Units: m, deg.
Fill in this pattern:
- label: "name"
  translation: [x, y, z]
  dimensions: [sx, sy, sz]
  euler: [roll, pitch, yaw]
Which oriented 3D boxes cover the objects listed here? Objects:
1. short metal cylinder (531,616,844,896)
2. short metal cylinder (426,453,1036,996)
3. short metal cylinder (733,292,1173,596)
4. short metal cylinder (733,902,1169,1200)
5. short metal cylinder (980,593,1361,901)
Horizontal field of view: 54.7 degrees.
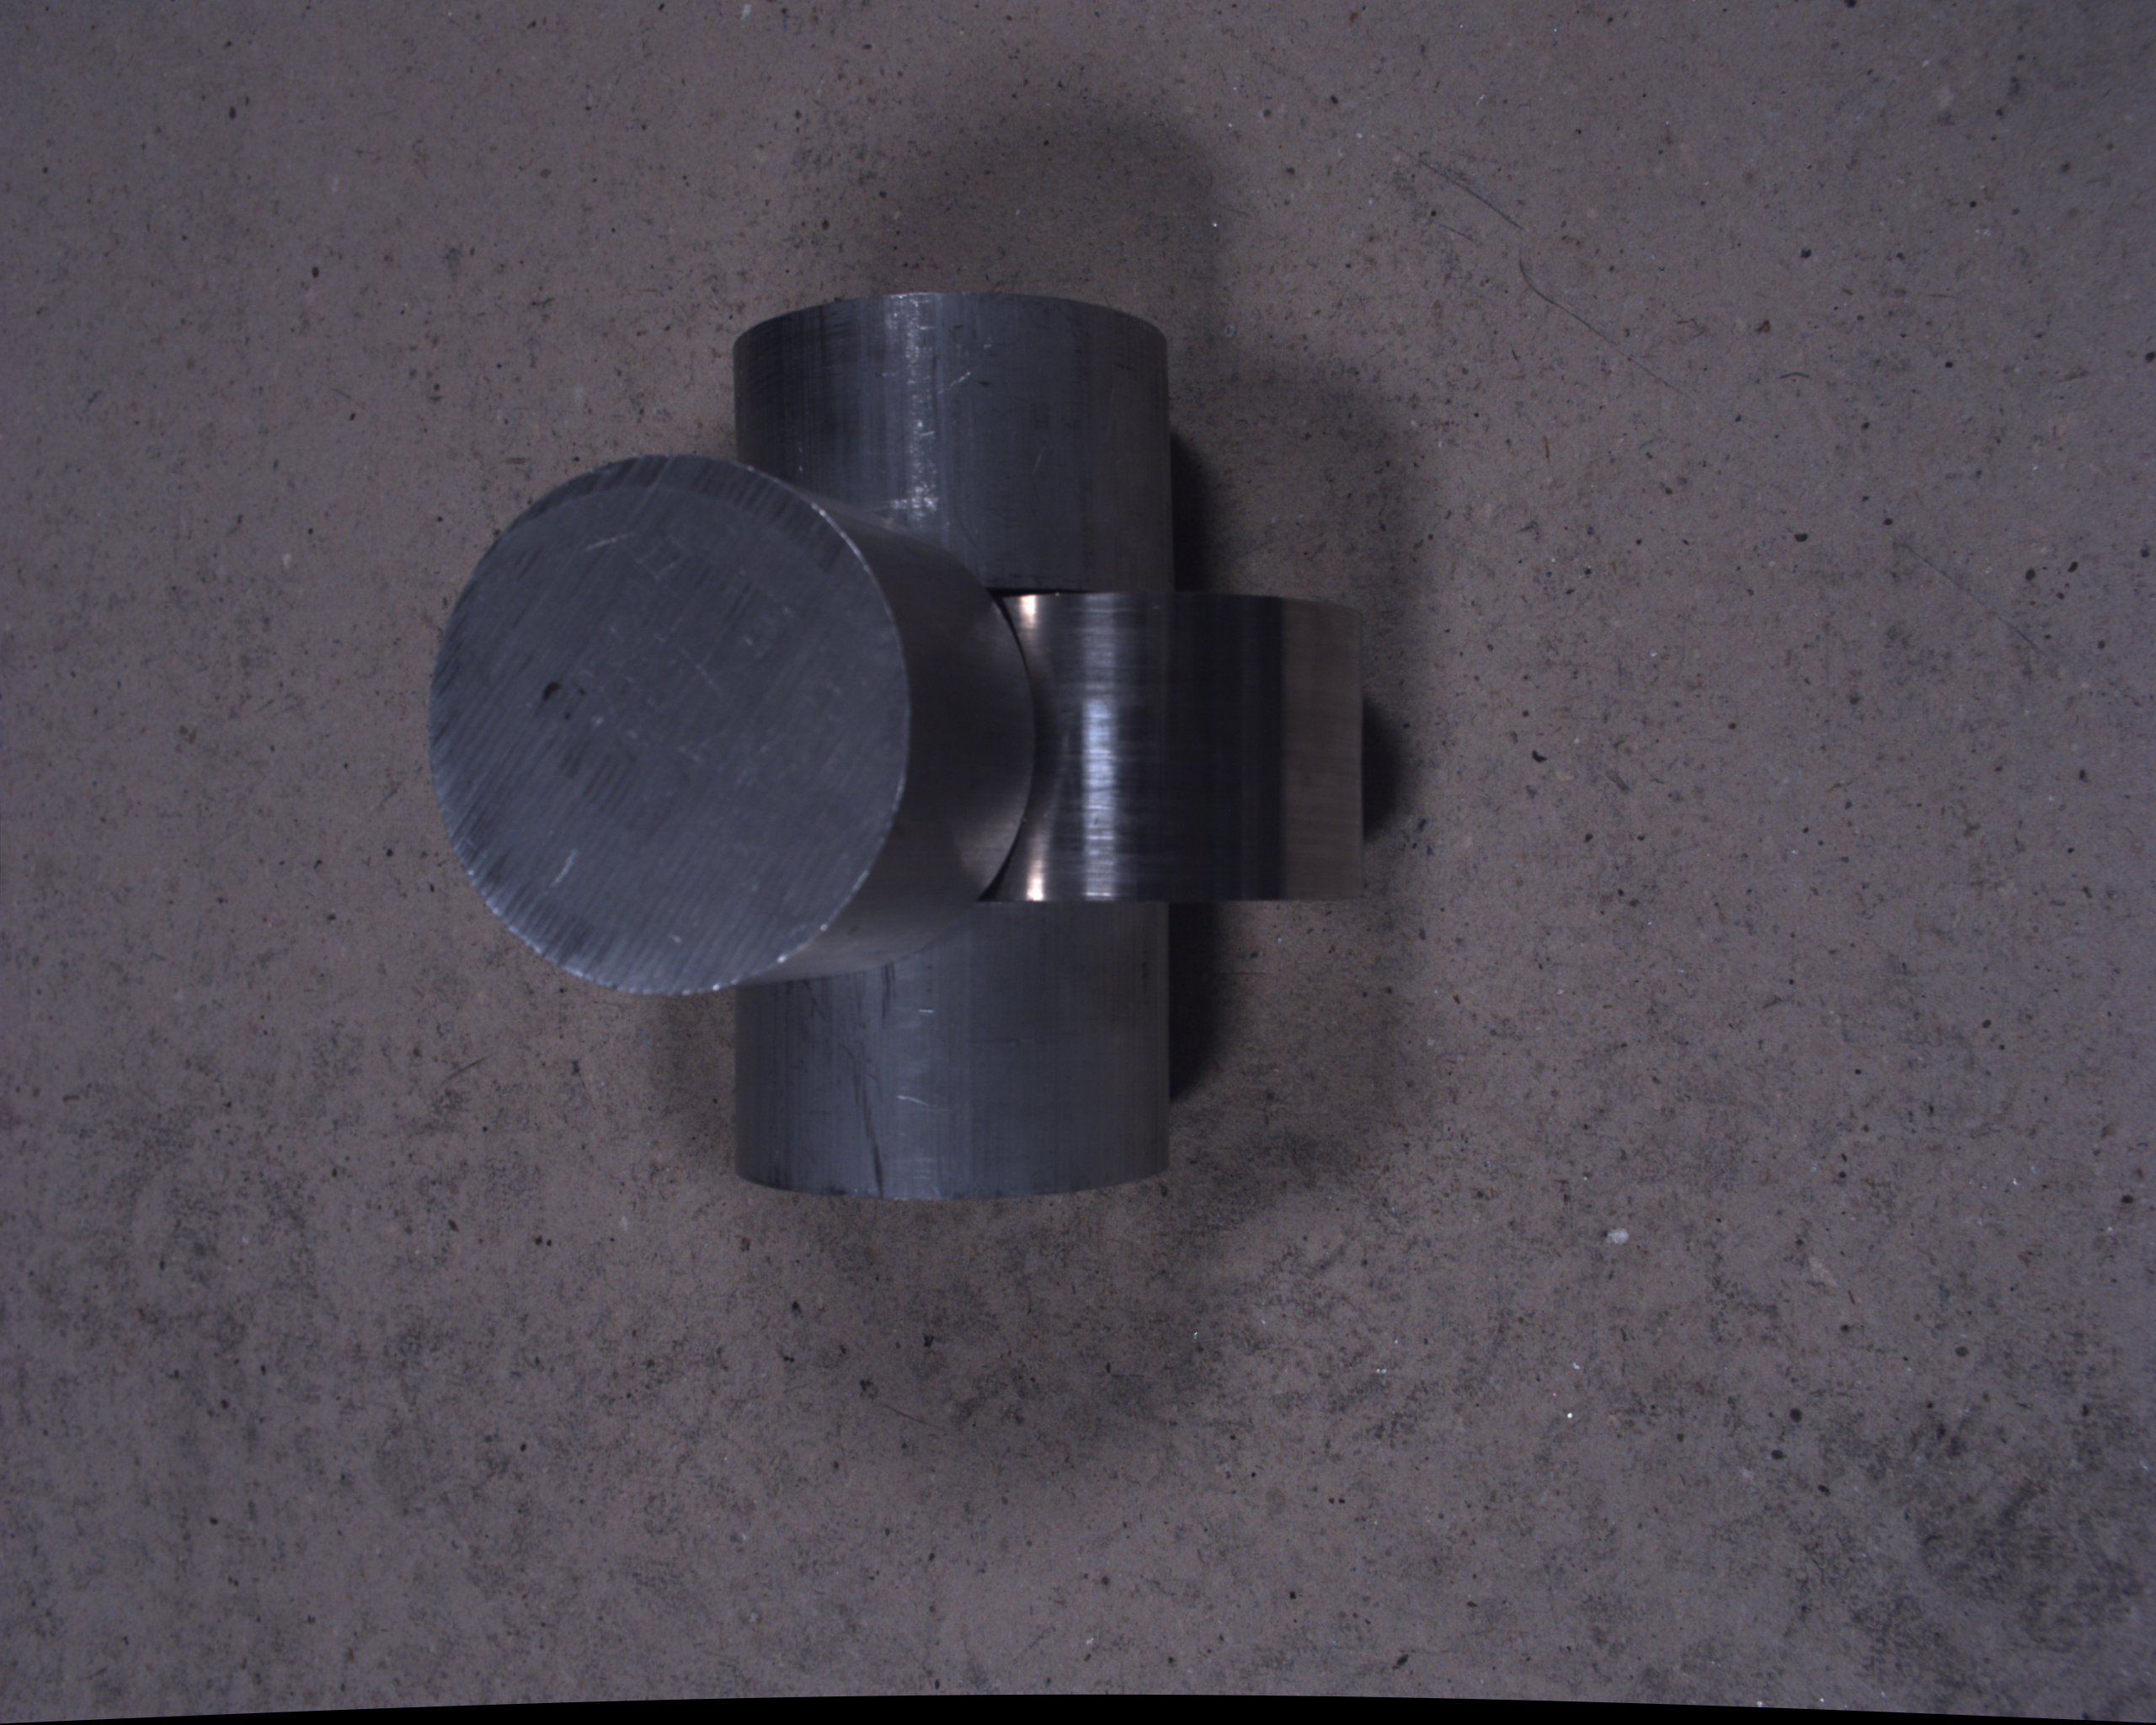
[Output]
- label: "short metal cylinder"
  translation: [-0.066, -0.018, 0.403]
  dimensions: [0.080, 0.080, 0.050]
  euler: [-1, 90, 19]
- label: "short metal cylinder"
  translation: [-0.053, -0.020, 0.329]
  dimensions: [0.080, 0.050, 0.079]
  euler: [0, 90, 19]
- label: "short metal cylinder"
  translation: [-0.023, -0.070, 0.388]
  dimensions: [0.080, 0.080, 0.050]
  euler: [-2, 90, 19]
- label: "short metal cylinder"
  translation: [-0.023, 0.031, 0.388]
  dimensions: [0.080, 0.080, 0.050]
  euler: [0, 90, 19]
- label: "short metal cylinder"
  translation: [0.011, -0.019, 0.376]
  dimensions: [0.080, 0.080, 0.050]
  euler: [0, 90, 19]
